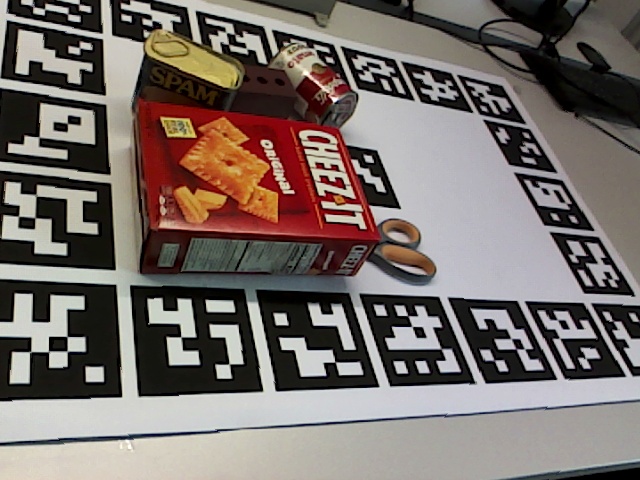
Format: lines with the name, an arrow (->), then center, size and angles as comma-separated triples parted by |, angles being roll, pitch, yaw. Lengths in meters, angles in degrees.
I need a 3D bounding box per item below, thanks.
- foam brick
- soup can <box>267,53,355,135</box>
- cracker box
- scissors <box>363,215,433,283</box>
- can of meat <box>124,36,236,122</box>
foam brick -> -0.083, -0.164, 0.733 | 0.077, 0.051, 0.053 | -6, 57, -34
soup can -> -0.017, -0.182, 0.785 | 0.102, 0.068, 0.067 | 39, 44, 13
cracker box -> -0.070, -0.043, 0.599 | 0.212, 0.072, 0.165 | -3, 54, -27
scissors -> 0.028, 0.010, 0.654 | 0.201, 0.016, 0.088 | -1, 54, -30
can of meat -> -0.152, -0.155, 0.658 | 0.101, 0.084, 0.058 | 16, 48, -18
